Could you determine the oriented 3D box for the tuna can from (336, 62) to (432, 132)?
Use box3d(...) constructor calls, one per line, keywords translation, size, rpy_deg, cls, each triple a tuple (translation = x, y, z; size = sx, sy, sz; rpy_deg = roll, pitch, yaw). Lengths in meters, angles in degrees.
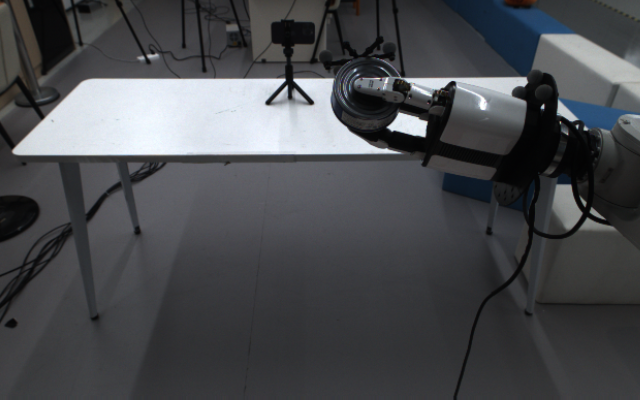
box3d(translation=(0.061, -0.122, 0.577), size=(0.085, 0.034, 0.085), rpy_deg=(0, 72, -1), cls="tuna can")
